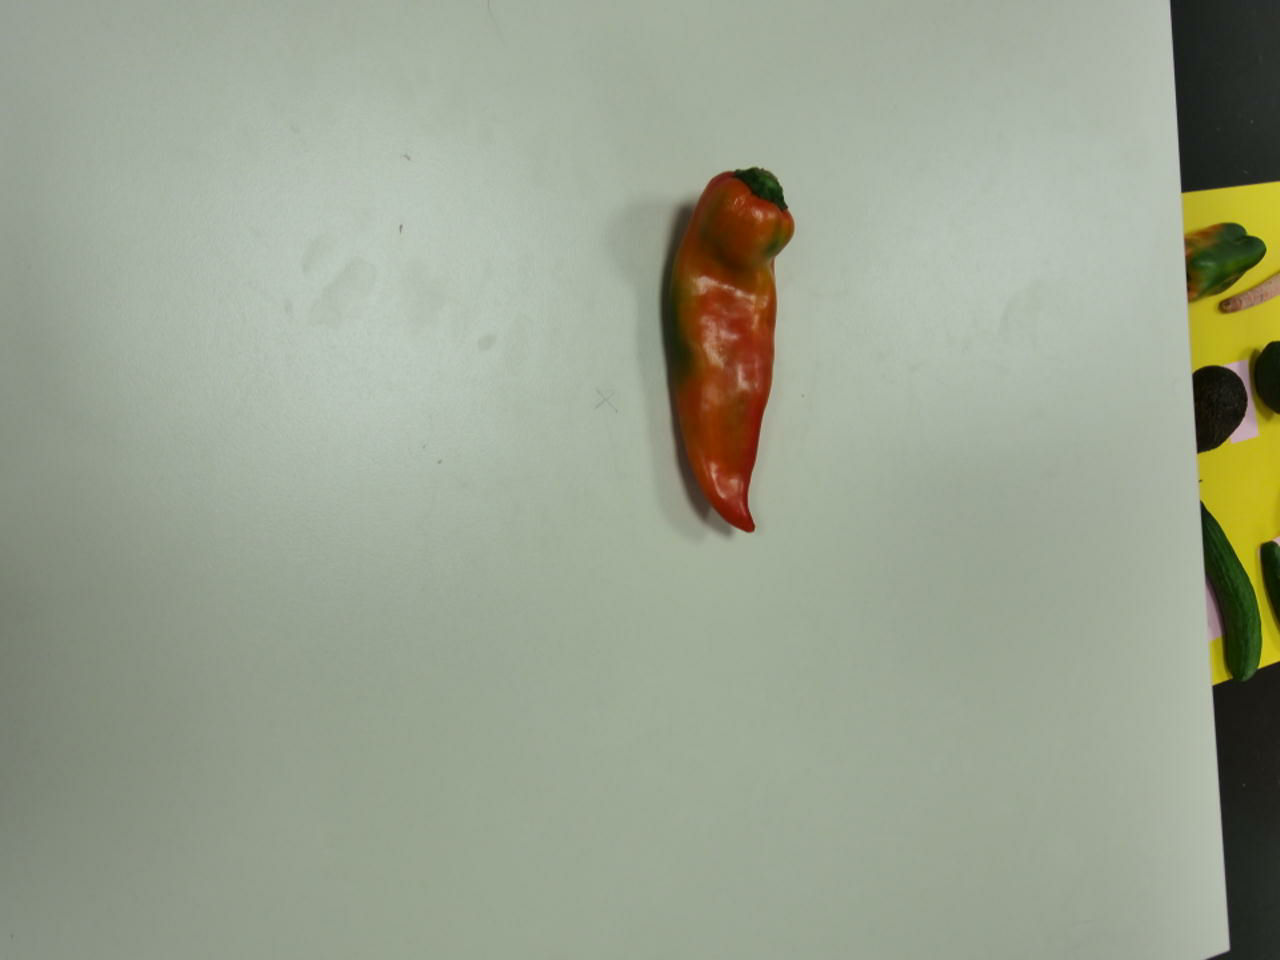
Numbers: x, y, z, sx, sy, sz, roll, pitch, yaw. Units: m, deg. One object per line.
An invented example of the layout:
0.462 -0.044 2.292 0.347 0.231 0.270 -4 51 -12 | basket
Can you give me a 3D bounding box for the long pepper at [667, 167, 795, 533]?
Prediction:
0.055 -0.070 0.555 0.066 0.065 0.199 0 91 -22 | long pepper
